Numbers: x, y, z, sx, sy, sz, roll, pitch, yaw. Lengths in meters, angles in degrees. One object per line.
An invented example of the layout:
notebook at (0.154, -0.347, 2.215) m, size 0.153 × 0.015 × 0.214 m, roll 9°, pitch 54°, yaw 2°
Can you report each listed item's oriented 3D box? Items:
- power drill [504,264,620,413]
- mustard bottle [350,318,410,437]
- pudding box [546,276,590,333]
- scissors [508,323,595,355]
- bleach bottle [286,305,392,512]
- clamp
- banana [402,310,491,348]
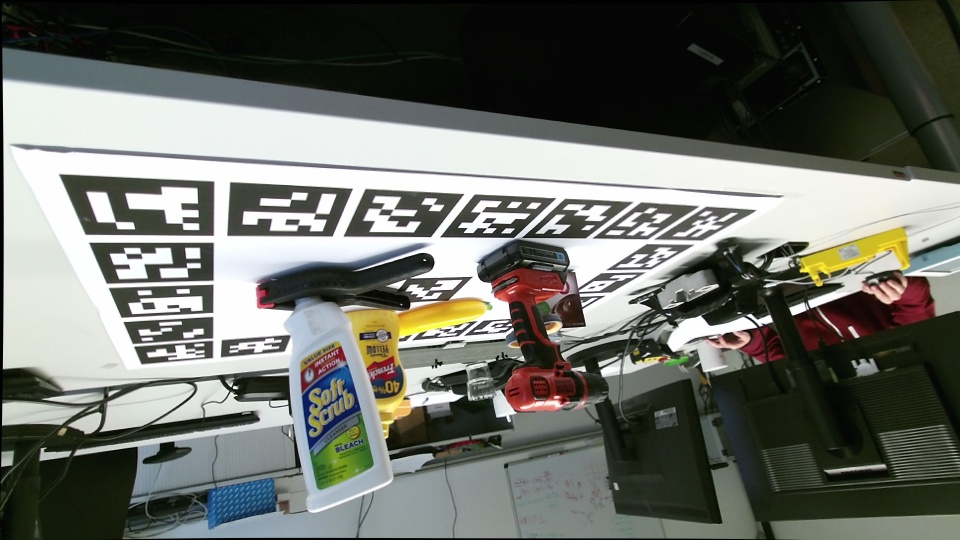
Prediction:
power drill at (0.107, 0.090, 0.708) m, size 0.185 × 0.186 × 0.057 m, roll 3°, pitch 161°, yaw -41°
mustard bottle at (-0.155, 0.156, 0.814) m, size 0.096 × 0.190 × 0.058 m, roll 7°, pitch 151°, yaw -40°
pudding box at (0.109, 0.054, 0.831) m, size 0.114 × 0.089 × 0.039 m, roll 1°, pitch 161°, yaw -31°
scissors at (0.127, 0.115, 0.818) m, size 0.088 × 0.016 × 0.203 m, roll -31°, pitch 148°, yaw 31°
bleach bottle at (-0.183, 0.141, 0.633) m, size 0.103 × 0.249 × 0.068 m, roll -16°, pitch 164°, yaw -13°
clamp at (-0.167, 0.040, 0.674) m, size 0.204 × 0.036 × 0.165 m, roll -2°, pitch 154°, yaw -21°
banana at (-0.078, 0.101, 0.898) m, size 0.198 × 0.038 × 0.074 m, roll -16°, pitch 175°, yaw 9°
